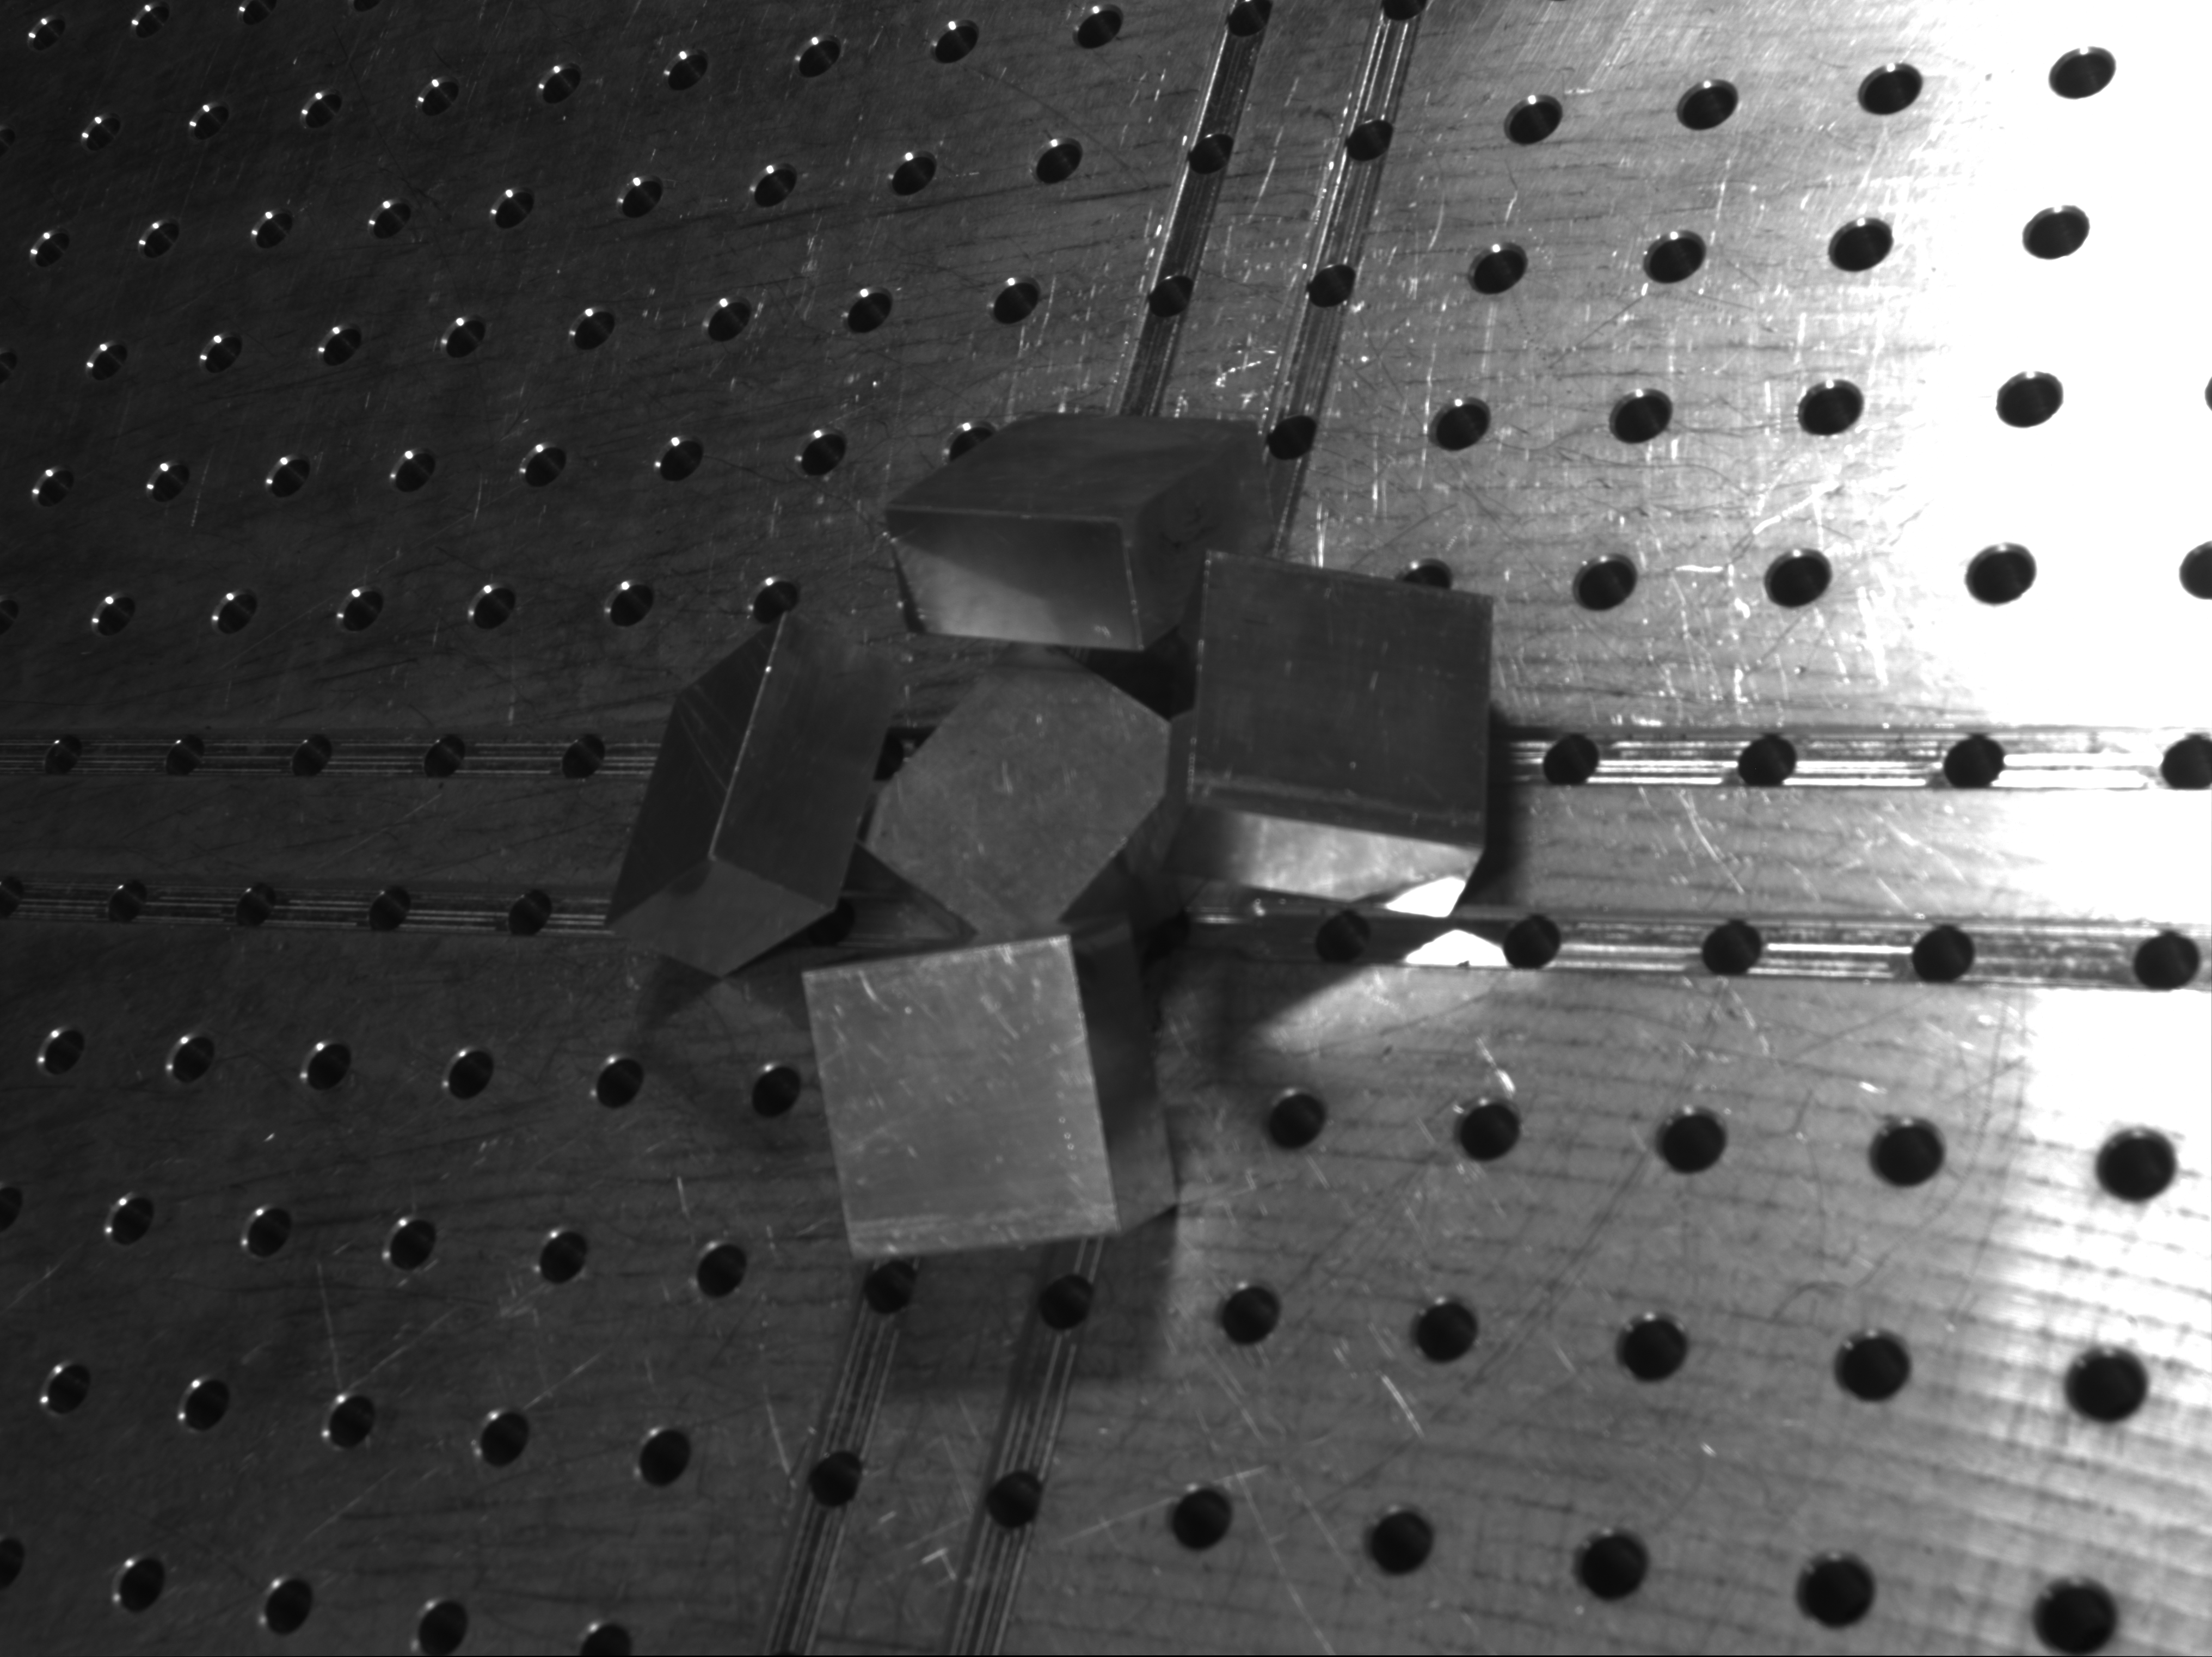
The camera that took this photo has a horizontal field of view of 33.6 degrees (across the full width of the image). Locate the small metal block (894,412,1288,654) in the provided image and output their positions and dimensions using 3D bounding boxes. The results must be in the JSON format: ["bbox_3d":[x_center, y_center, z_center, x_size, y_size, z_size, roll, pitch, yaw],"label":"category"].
[{"bbox_3d":[-0.002,-0.055,0.666,0.050,0.025,0.050,6,28,31],"label":"small metal block"}]

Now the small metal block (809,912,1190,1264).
[{"bbox_3d":[-0.018,0.043,0.614,0.050,0.025,0.050,-9,93,24],"label":"small metal block"}]

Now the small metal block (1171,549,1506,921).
[{"bbox_3d":[0.040,-0.016,0.620,0.050,0.025,0.050,9,60,-7],"label":"small metal block"}]

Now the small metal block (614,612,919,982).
[{"bbox_3d":[-0.062,-0.005,0.669,0.050,0.025,0.050,-30,41,56],"label":"small metal block"}]

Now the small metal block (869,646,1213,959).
[{"bbox_3d":[-0.007,-0.001,0.651,0.050,0.025,0.050,-49,51,-6],"label":"small metal block"}]
